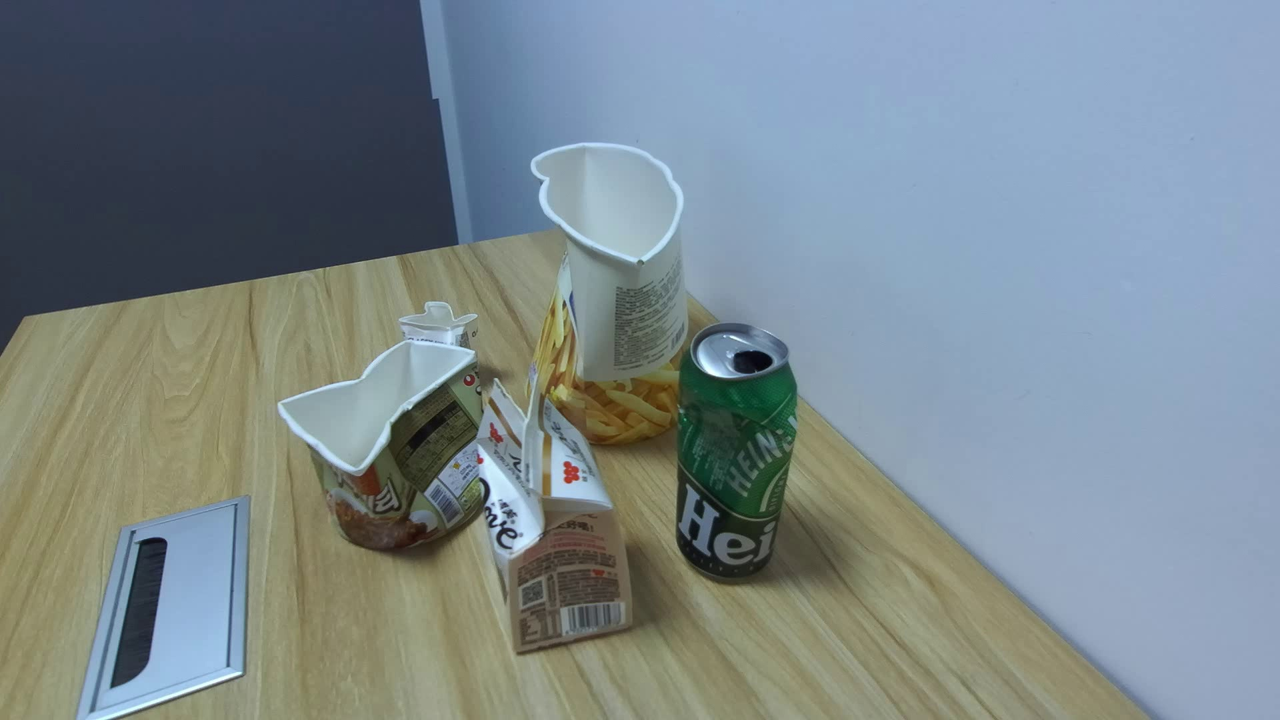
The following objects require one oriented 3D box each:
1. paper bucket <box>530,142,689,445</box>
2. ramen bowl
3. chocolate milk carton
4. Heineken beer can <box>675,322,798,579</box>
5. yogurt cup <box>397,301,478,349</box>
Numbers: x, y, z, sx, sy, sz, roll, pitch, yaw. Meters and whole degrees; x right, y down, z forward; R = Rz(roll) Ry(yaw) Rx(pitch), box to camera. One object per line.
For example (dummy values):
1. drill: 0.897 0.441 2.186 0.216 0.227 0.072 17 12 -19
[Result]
1. paper bucket: -0.025 -0.051 0.575 0.148 0.199 0.217 -27 40 -34
2. ramen bowl: -0.165 0.059 0.503 0.111 0.093 0.129 23 40 32
3. chocolate milk carton: -0.052 0.085 0.406 0.074 0.156 0.076 -11 34 -11
4. Heineken beer can: 0.056 0.059 0.435 0.066 0.164 0.077 2 35 5
5. yogurt cup: -0.174 -0.010 0.630 0.054 0.072 0.055 20 38 28
